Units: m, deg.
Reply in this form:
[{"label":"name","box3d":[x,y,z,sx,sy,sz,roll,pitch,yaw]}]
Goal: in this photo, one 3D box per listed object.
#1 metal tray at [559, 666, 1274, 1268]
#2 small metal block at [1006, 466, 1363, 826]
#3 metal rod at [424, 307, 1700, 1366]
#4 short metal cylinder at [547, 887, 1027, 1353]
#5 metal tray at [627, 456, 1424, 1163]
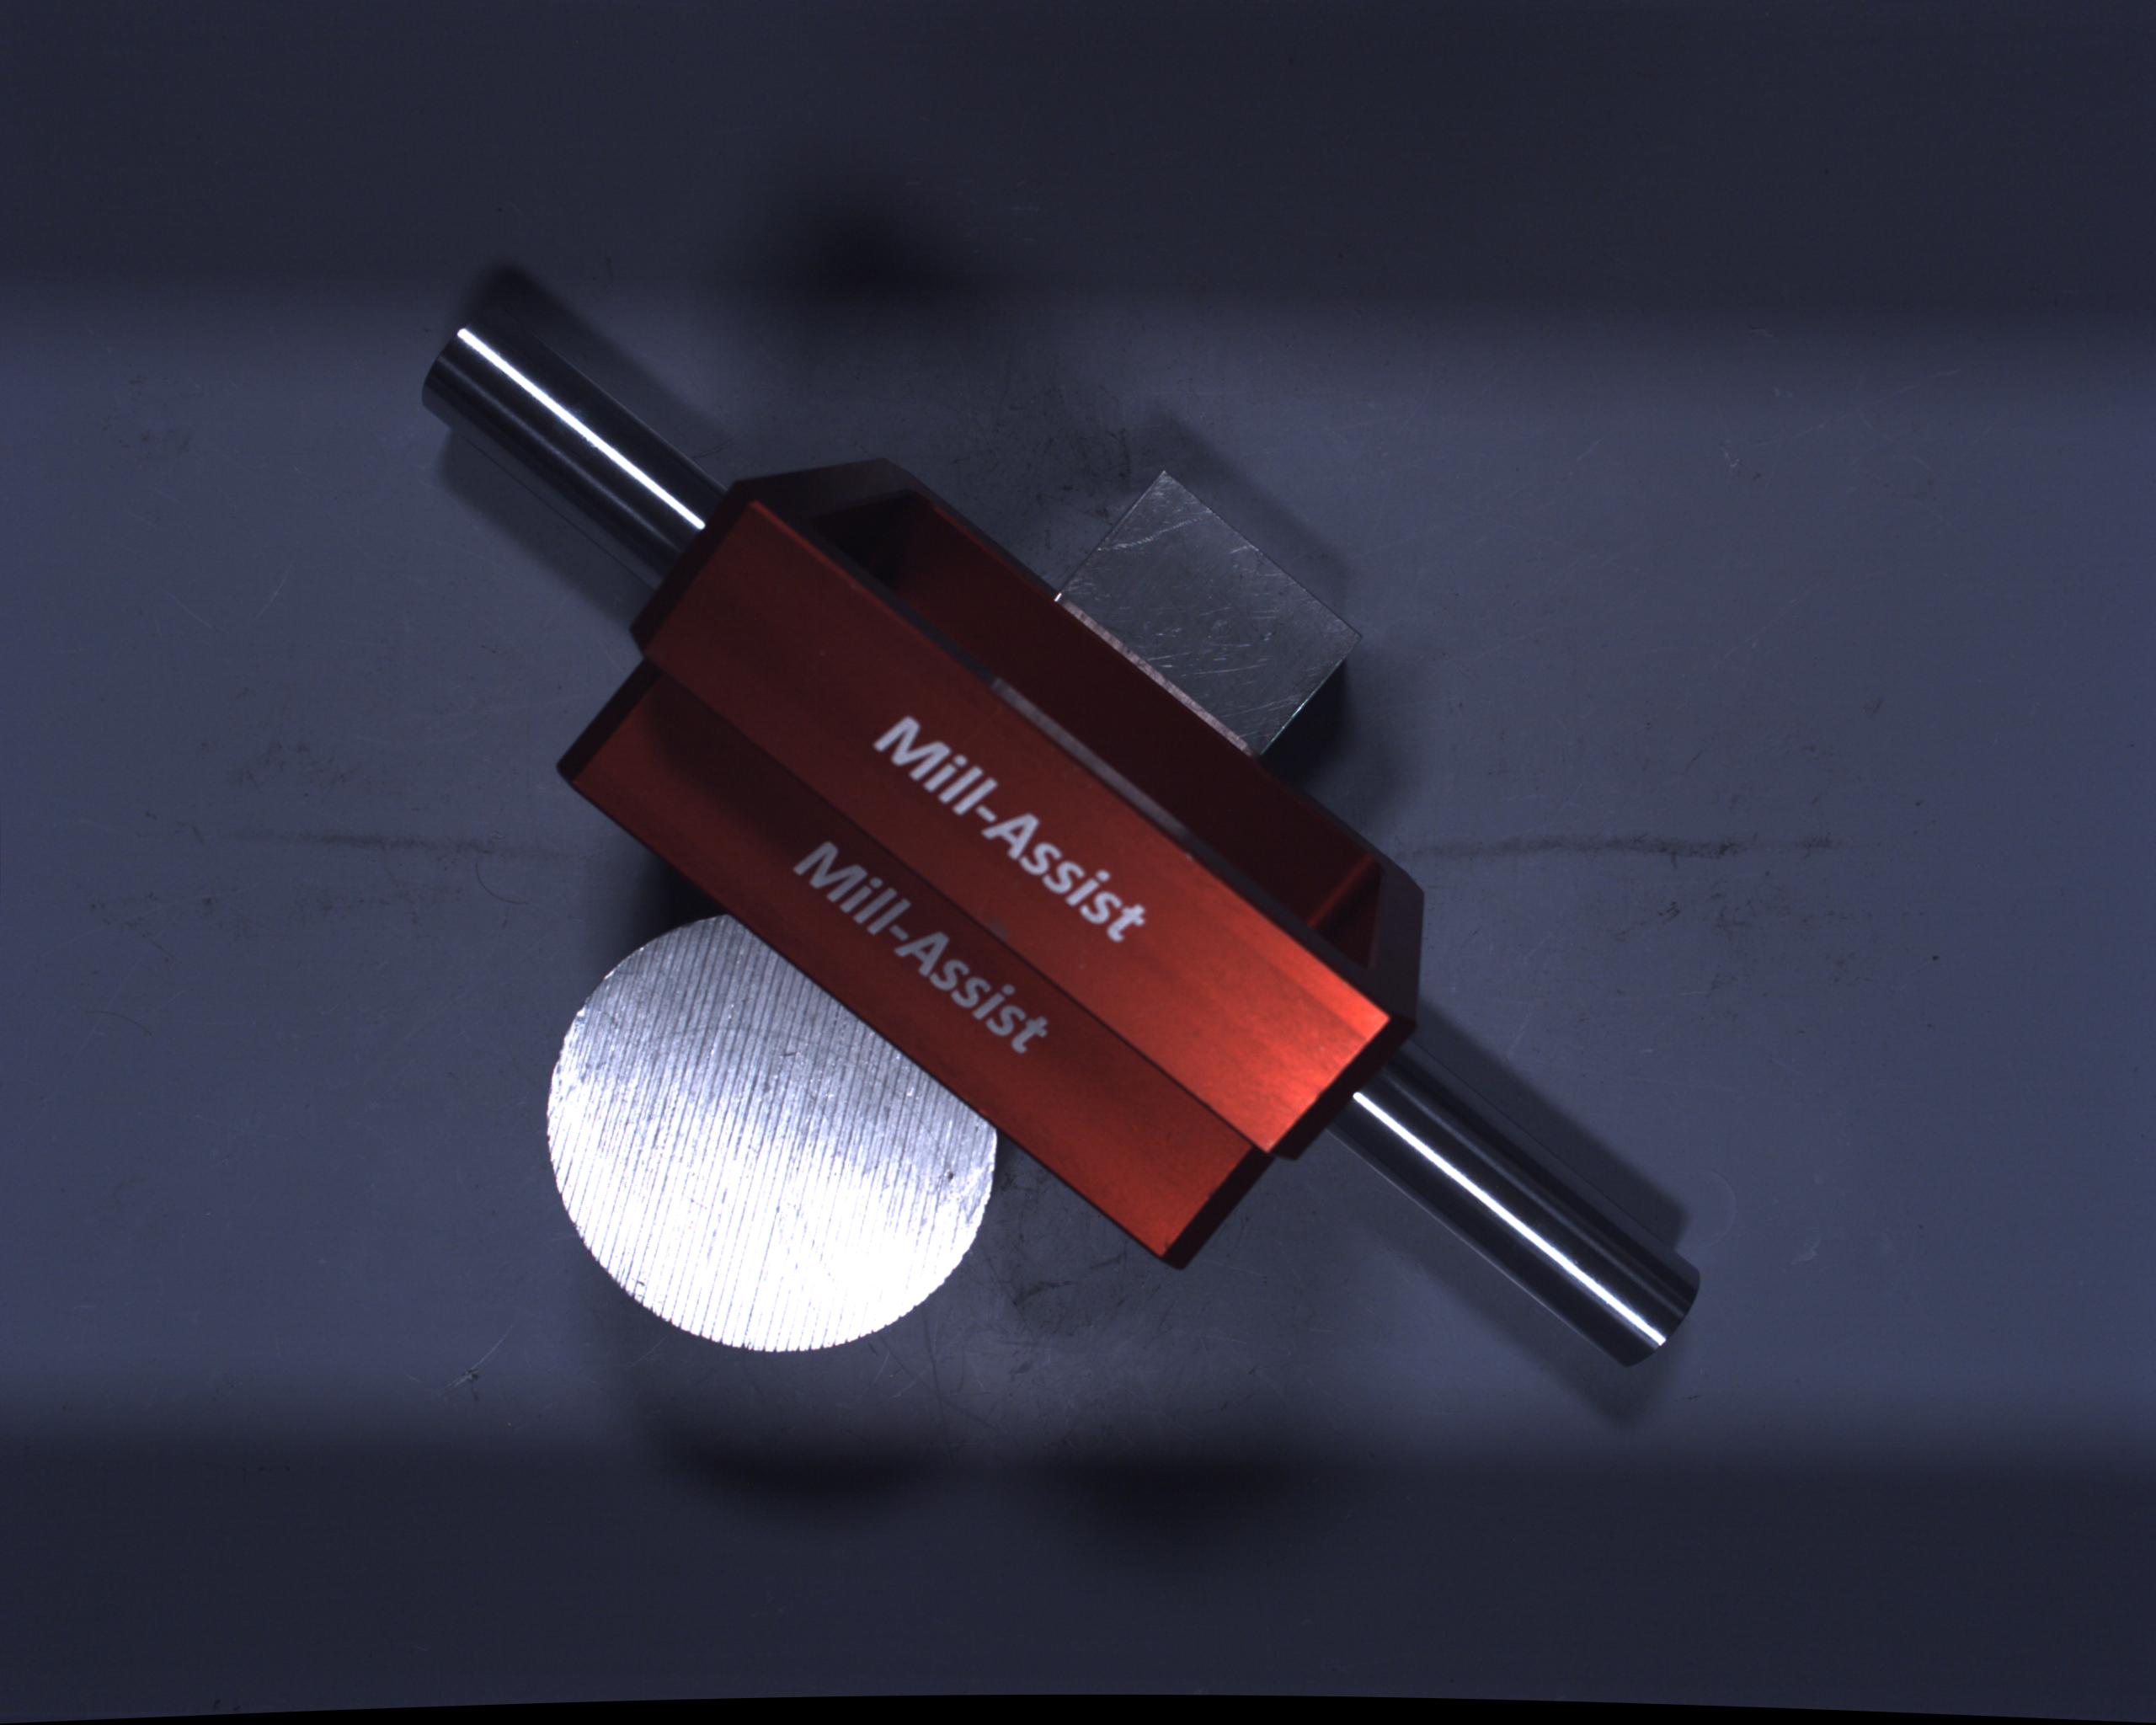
[{"label":"metal tray","box3d":[-0.024,0.014,0.377,0.130,0.090,0.030,39,90,-1]},{"label":"small metal block","box3d":[0.019,-0.041,0.410,0.050,0.025,0.050,41,90,-1]},{"label":"metal rod","box3d":[-0.003,-0.005,0.411,0.300,0.025,0.025,39,90,-1]},{"label":"short metal cylinder","box3d":[-0.052,0.045,0.391,0.080,0.050,0.079,1,97,5]},{"label":"metal tray","box3d":[-0.002,-0.015,0.352,0.130,0.090,0.030,39,107,-1]}]
